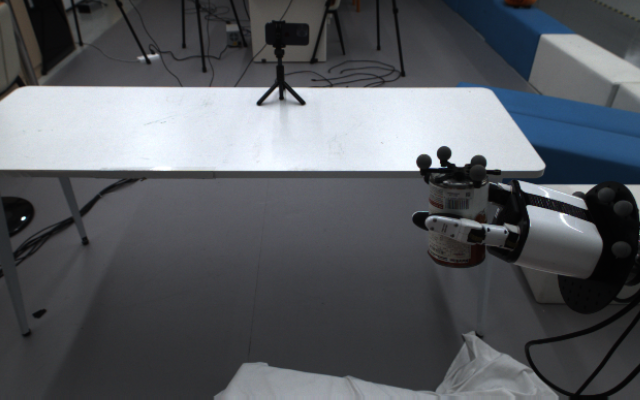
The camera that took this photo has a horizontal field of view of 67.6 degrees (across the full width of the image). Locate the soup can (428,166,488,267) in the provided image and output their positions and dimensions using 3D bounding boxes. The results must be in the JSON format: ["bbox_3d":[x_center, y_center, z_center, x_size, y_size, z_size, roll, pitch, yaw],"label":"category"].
[{"bbox_3d":[0.164,0.018,0.570,0.067,0.101,0.067,-4,21,1],"label":"soup can"}]
